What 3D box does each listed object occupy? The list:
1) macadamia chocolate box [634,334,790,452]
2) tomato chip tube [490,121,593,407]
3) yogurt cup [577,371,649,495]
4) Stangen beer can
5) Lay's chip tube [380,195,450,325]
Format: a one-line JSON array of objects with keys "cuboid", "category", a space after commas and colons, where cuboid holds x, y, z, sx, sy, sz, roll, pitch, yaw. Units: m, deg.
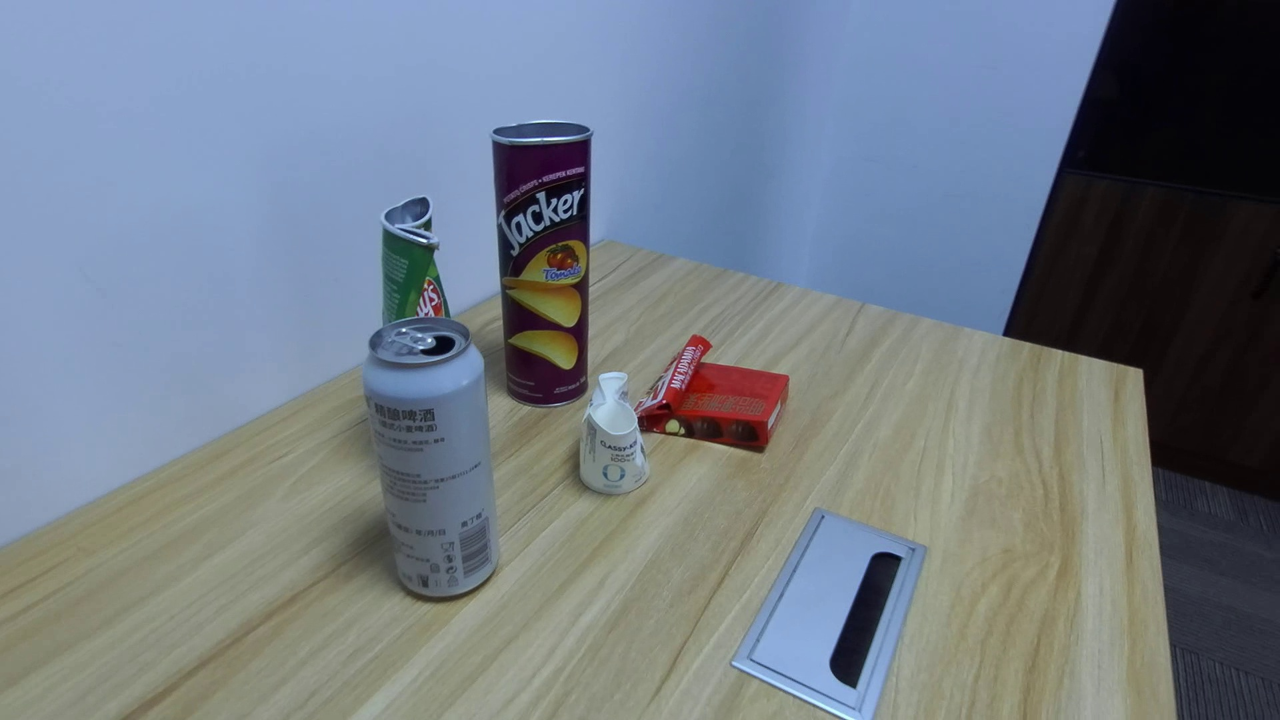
[{"cuboid": [0.062, 0.034, 0.627, 0.126, 0.056, 0.112, 16, 47, 18], "category": "macadamia chocolate box"}, {"cuboid": [-0.080, -0.078, 0.609, 0.080, 0.234, 0.076, 1, 28, -4], "category": "tomato chip tube"}, {"cuboid": [-0.019, 0.059, 0.537, 0.054, 0.071, 0.075, -14, 34, -27], "category": "yogurt cup"}, {"cuboid": [-0.123, 0.062, 0.426, 0.067, 0.171, 0.067, 2, 29, -1], "category": "Stangen beer can"}, {"cuboid": [-0.160, -0.011, 0.519, 0.069, 0.201, 0.077, -24, 42, -37], "category": "Lay's chip tube"}]
